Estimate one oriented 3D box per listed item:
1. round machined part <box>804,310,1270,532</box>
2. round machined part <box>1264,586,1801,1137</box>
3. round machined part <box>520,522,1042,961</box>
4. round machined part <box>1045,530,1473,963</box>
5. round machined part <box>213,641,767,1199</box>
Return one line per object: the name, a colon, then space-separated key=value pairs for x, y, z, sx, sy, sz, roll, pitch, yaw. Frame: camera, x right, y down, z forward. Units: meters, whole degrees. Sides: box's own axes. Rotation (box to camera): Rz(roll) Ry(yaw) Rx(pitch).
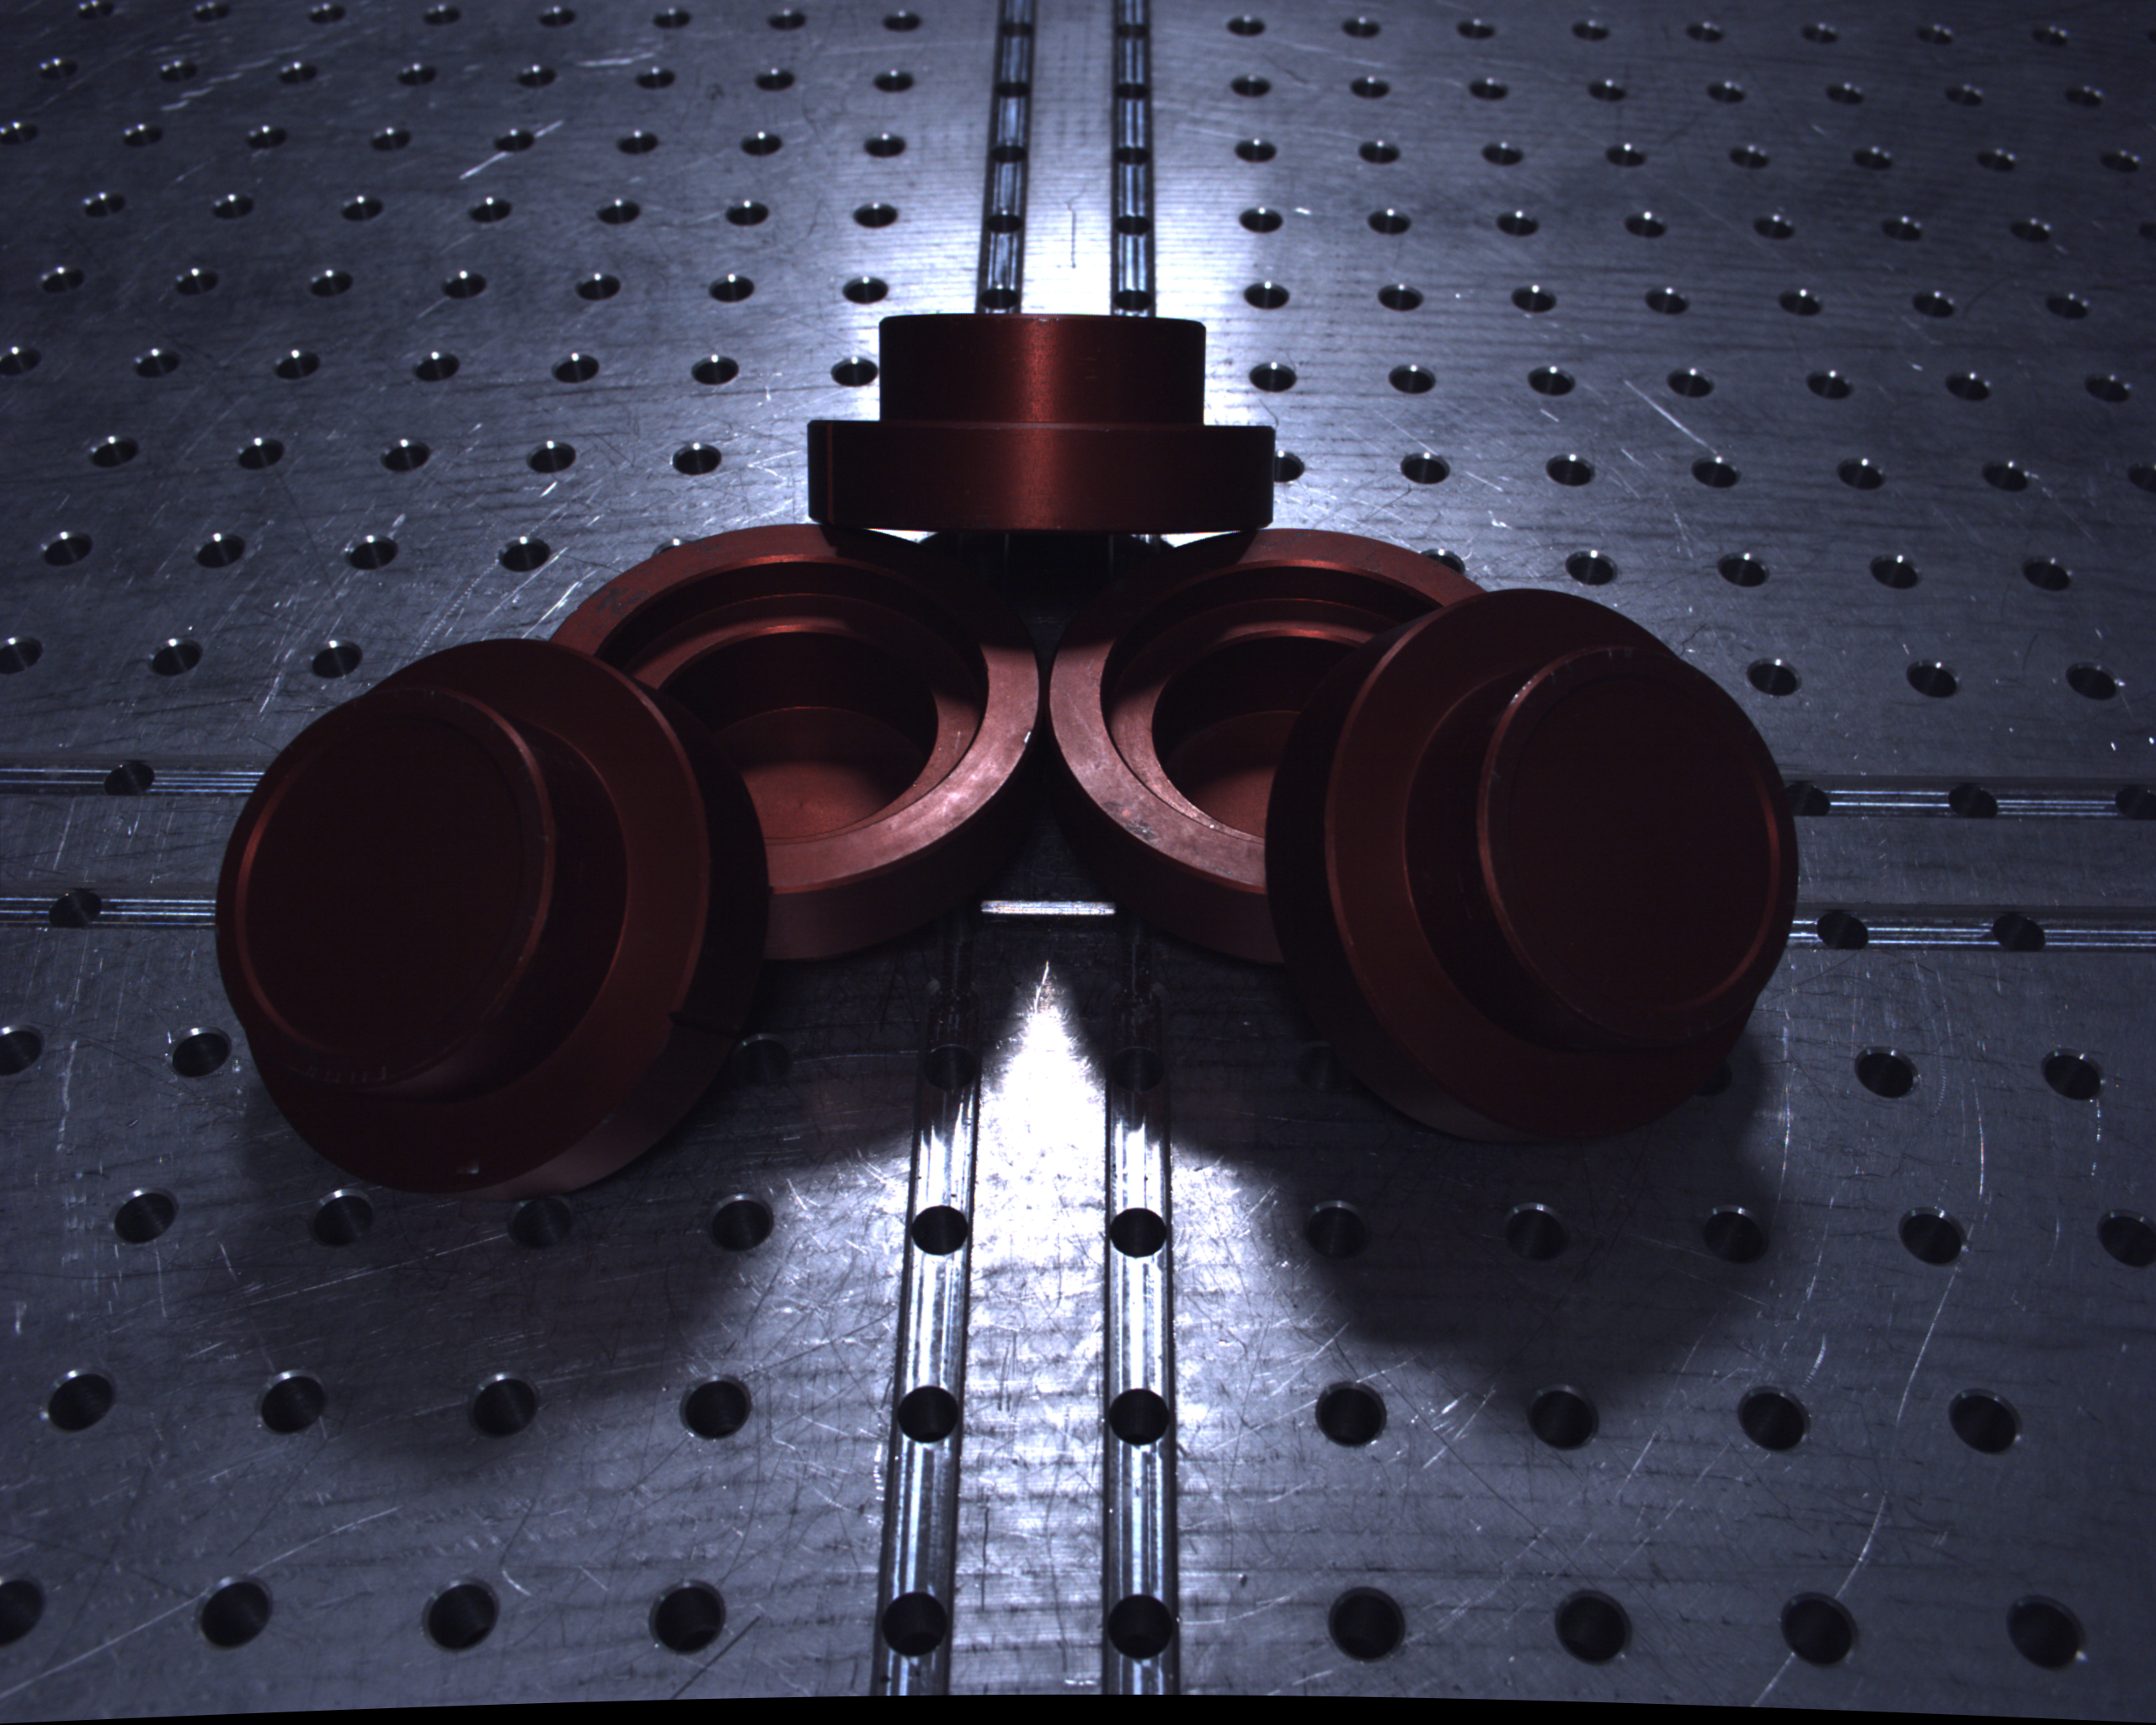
round machined part: x=-0.009 y=-0.094 z=0.442 sx=0.099 sy=0.042 sz=0.098 roll=0 pitch=12 yaw=0
round machined part: x=0.085 y=-0.001 z=0.364 sx=0.099 sy=0.042 sz=0.097 roll=5 pitch=79 yaw=-25
round machined part: x=-0.056 y=-0.019 z=0.411 sx=0.099 sy=0.042 sz=0.098 roll=0 pitch=50 yaw=0
round machined part: x=0.043 y=-0.018 z=0.412 sx=0.099 sy=0.042 sz=0.098 roll=0 pitch=50 yaw=0
round machined part: x=-0.107 y=0.008 z=0.358 sx=0.098 sy=0.042 sz=0.098 roll=-5 pitch=76 yaw=21
